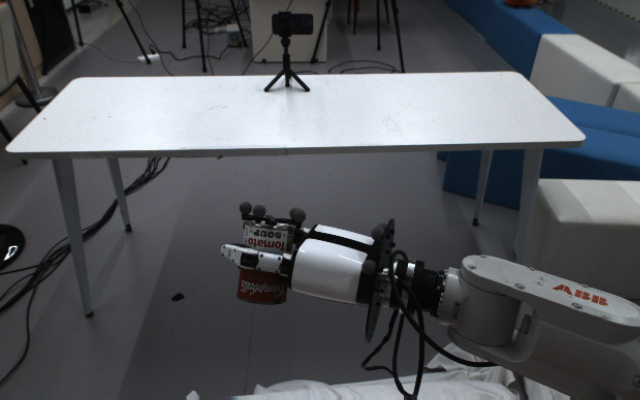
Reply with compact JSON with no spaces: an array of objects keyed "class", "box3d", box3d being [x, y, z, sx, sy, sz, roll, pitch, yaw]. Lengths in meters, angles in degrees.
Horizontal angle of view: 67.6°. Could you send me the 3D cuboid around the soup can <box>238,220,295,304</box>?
[{"class":"soup can","box3d":[-0.071,0.082,0.644,0.067,0.101,0.067,7,3,0]}]
